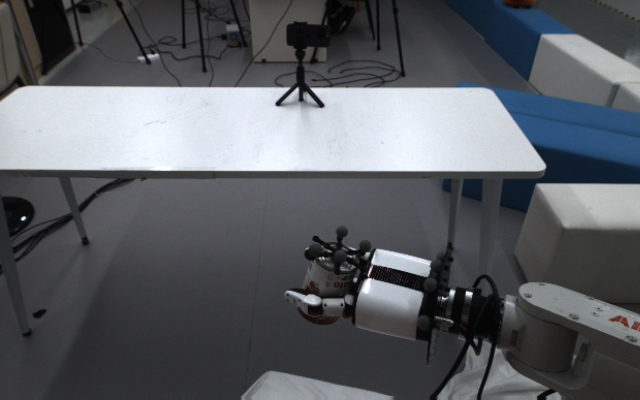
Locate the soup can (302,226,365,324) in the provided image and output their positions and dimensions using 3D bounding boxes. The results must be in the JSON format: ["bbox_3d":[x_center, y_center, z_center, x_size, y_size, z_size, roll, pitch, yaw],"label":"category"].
[{"bbox_3d":[0.011,0.120,0.694,0.067,0.101,0.067,13,30,-8],"label":"soup can"}]
